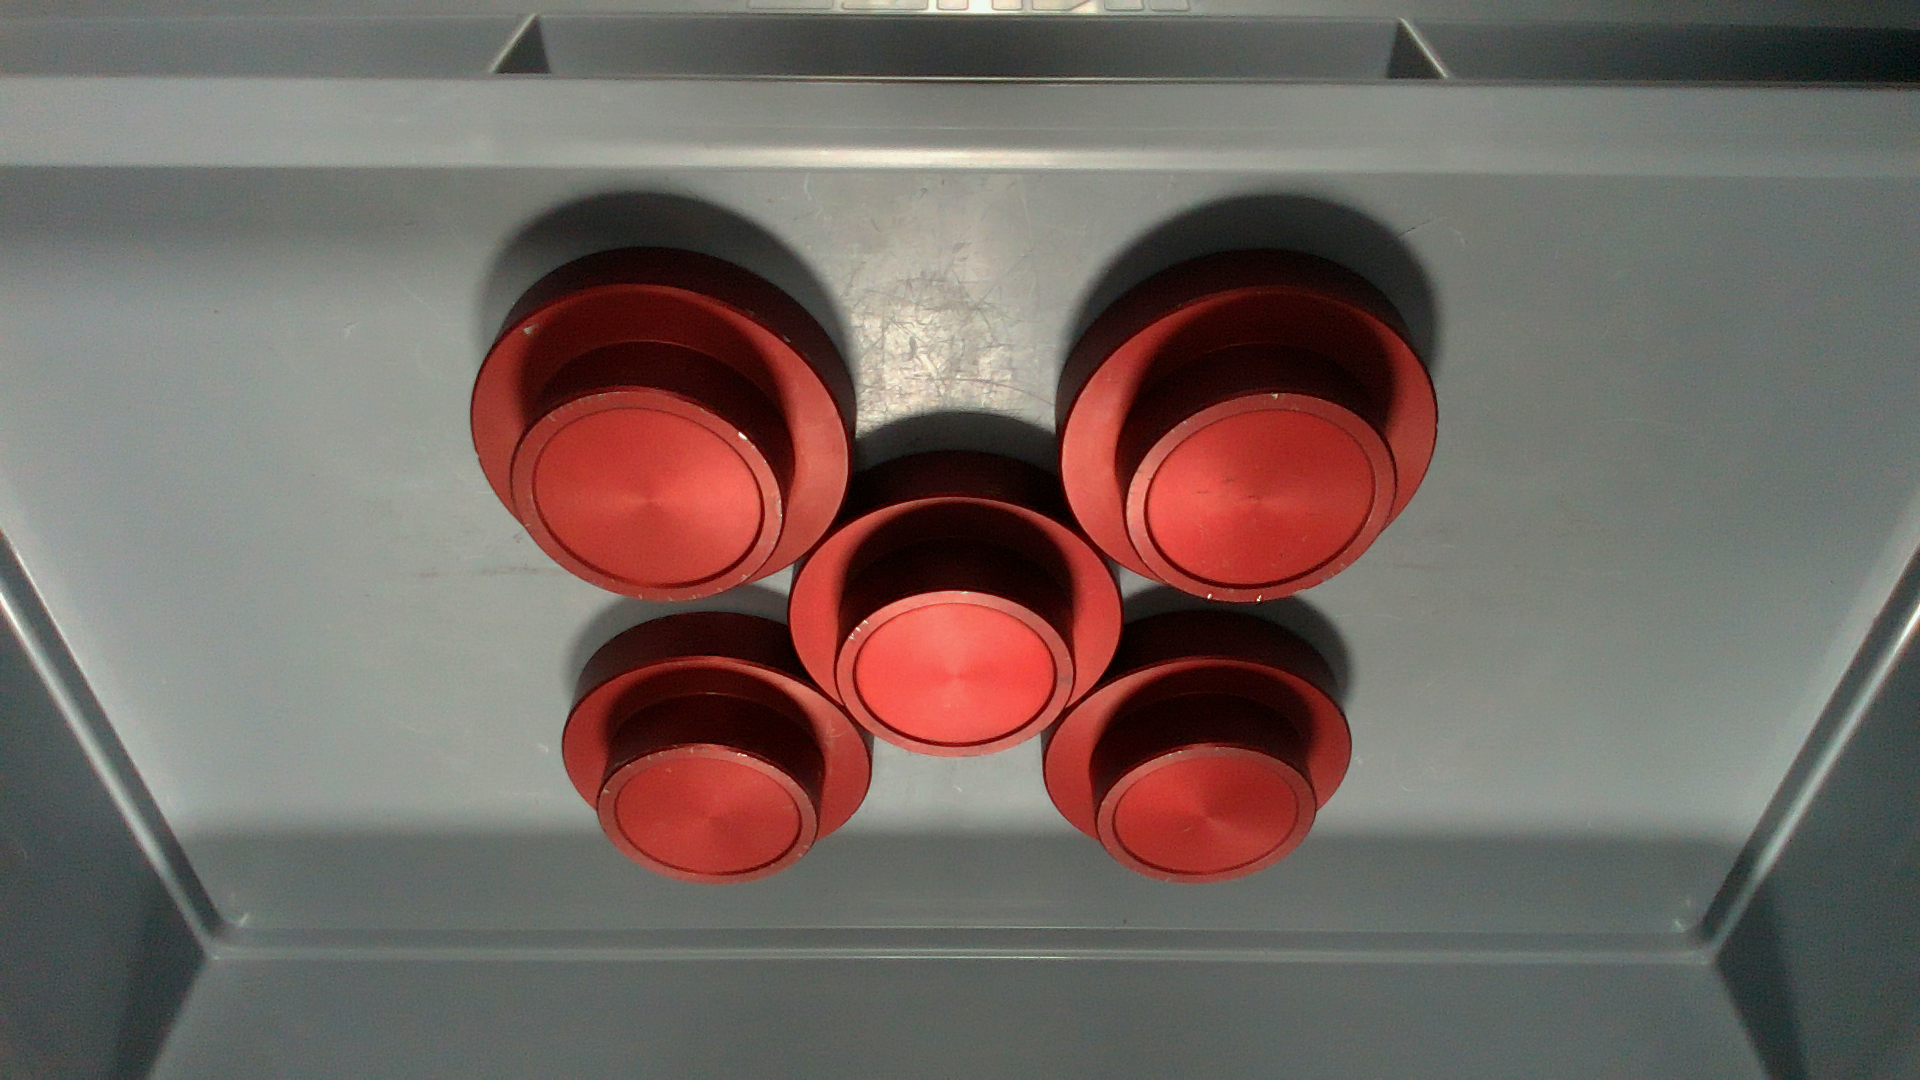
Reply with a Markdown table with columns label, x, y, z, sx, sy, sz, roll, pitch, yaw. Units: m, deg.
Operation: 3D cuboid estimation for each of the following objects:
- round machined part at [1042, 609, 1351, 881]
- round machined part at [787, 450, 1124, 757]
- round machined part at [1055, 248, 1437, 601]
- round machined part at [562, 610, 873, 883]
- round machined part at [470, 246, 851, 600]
| label | x | y | z | sx | sy | sz | roll | pitch | yaw |
| --- | --- | --- | --- | --- | --- | --- | --- | --- | --- |
| round machined part | 0.075 | 0.071 | 0.439 | 0.098 | 0.042 | 0.098 | 0 | 130 | 0 |
| round machined part | -0.001 | 0.025 | 0.398 | 0.098 | 0.042 | 0.098 | 0 | 130 | 0 |
| round machined part | 0.075 | -0.023 | 0.360 | 0.098 | 0.042 | 0.098 | 0 | 130 | 0 |
| round machined part | -0.077 | 0.072 | 0.439 | 0.098 | 0.042 | 0.098 | 0 | 130 | 0 |
| round machined part | -0.078 | -0.023 | 0.358 | 0.098 | 0.042 | 0.098 | 0 | 130 | 0 |
